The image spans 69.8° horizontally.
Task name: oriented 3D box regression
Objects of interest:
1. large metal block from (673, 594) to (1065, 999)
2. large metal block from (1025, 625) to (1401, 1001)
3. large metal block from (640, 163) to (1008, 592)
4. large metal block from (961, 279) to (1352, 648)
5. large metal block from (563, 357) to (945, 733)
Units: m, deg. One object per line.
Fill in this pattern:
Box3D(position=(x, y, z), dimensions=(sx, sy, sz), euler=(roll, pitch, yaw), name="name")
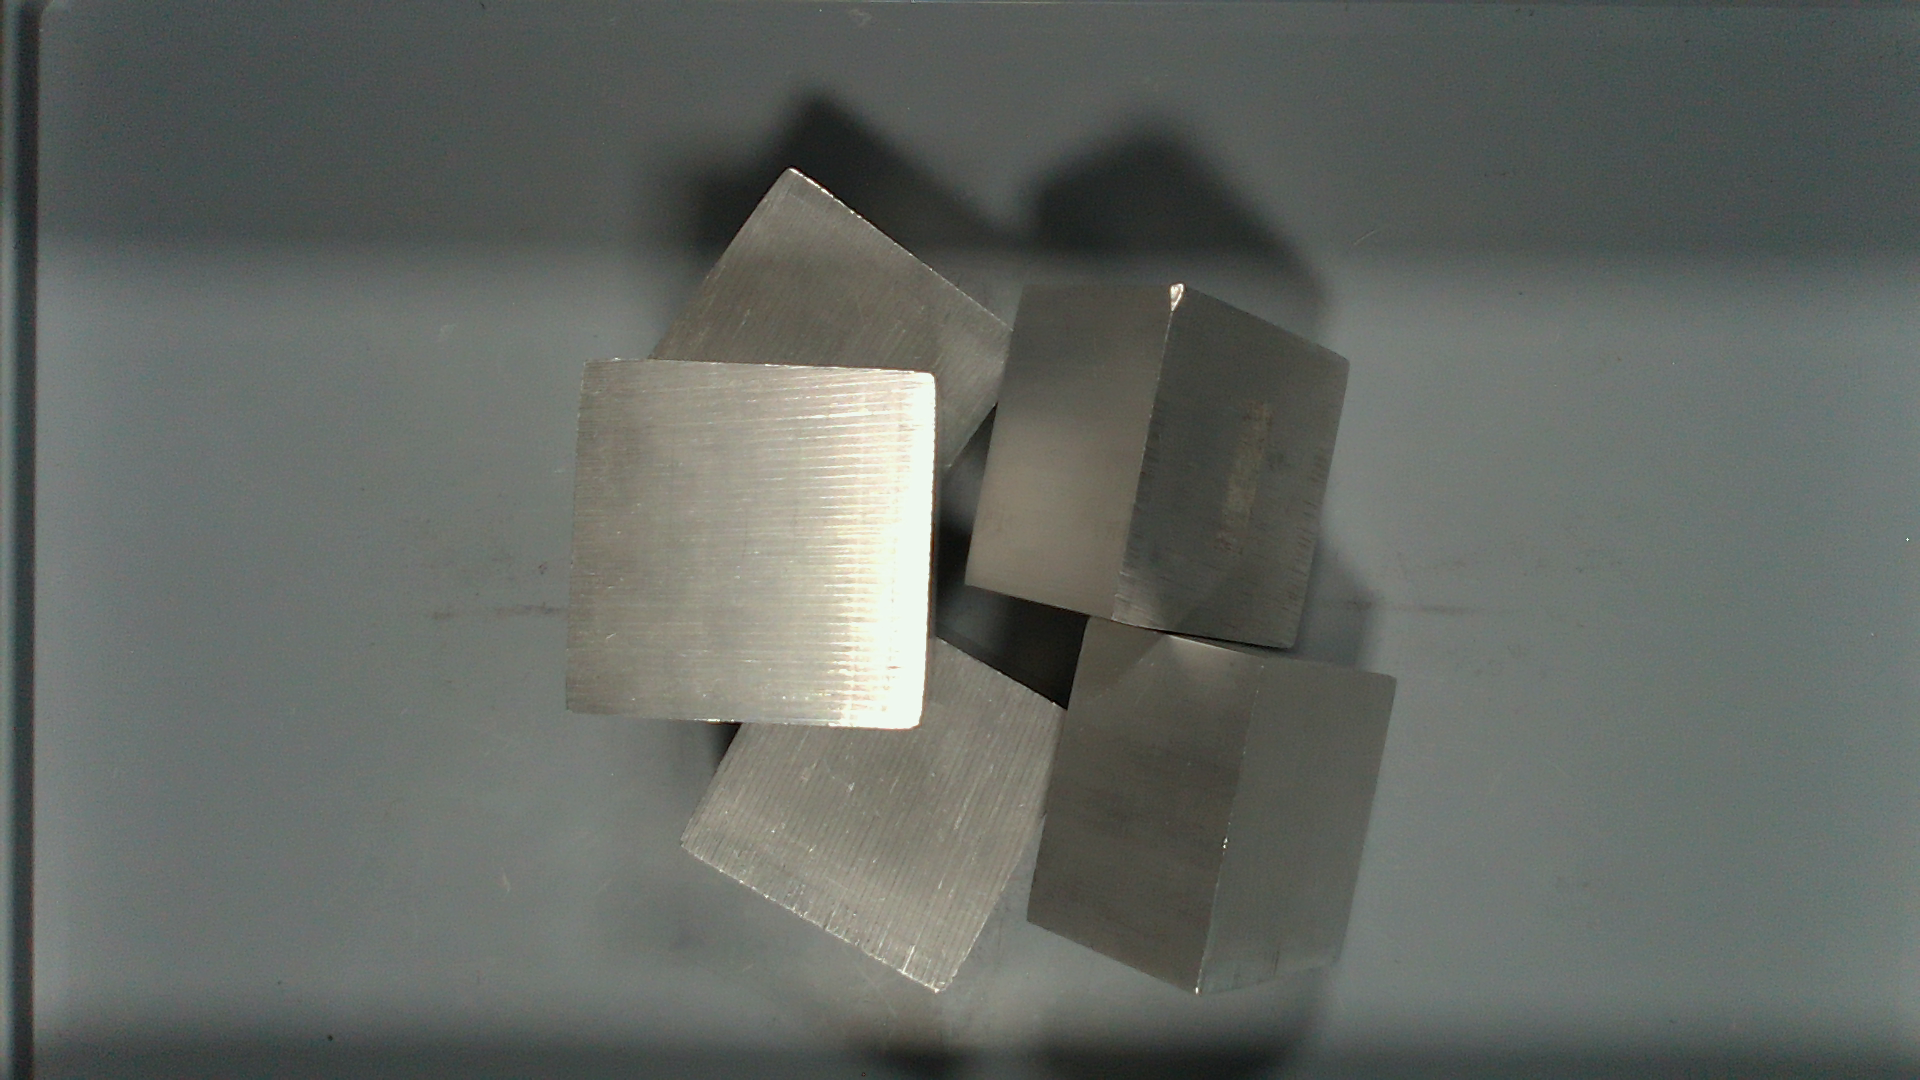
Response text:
Box3D(position=(-0.019, 0.064, 0.379), dimensions=(0.080, 0.050, 0.080), euler=(30, 90, 0), name="large metal block")
Box3D(position=(0.068, 0.067, 0.360), dimensions=(0.050, 0.080, 0.080), euler=(12, 90, 39), name="large metal block")
Box3D(position=(-0.036, -0.042, 0.382), dimensions=(0.080, 0.050, 0.080), euler=(36, 90, 0), name="large metal block")
Box3D(position=(0.053, -0.018, 0.361), dimensions=(0.080, 0.050, 0.080), euler=(11, 90, -45), name="large metal block")
Box3D(position=(-0.046, 0.001, 0.330), dimensions=(0.080, 0.050, 0.080), euler=(2, 89, 1), name="large metal block")
